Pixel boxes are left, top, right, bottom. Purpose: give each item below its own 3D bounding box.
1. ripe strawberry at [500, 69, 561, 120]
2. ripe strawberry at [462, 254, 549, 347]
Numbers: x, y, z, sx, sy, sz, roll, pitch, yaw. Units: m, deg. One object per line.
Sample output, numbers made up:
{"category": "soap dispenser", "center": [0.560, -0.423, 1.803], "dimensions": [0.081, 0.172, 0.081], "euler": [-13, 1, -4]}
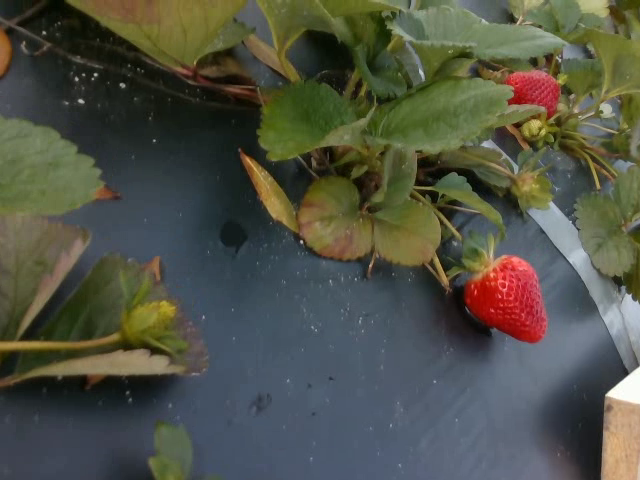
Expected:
{"category": "ripe strawberry", "center": [0.155, -0.113, 0.433], "dimensions": [0.062, 0.043, 0.042], "euler": [16, -1, -36]}
{"category": "ripe strawberry", "center": [0.089, 0.026, 0.267], "dimensions": [0.036, 0.046, 0.040], "euler": [-23, -25, -29]}
